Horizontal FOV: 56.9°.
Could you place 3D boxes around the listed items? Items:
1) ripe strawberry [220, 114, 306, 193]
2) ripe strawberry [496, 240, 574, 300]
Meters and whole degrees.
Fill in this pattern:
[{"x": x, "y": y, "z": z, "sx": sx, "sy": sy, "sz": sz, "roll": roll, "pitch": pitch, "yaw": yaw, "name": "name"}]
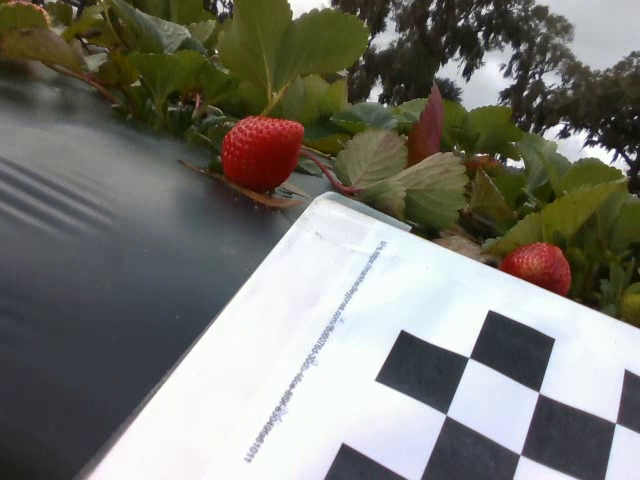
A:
[{"x": -0.028, "y": -0.052, "z": 0.321, "sx": 0.065, "sy": 0.043, "sz": 0.047, "roll": -20, "pitch": 23, "yaw": 51, "name": "ripe strawberry"}, {"x": 0.105, "y": 0.015, "z": 0.279, "sx": 0.040, "sy": 0.037, "sz": 0.042, "roll": 34, "pitch": 3, "yaw": 21, "name": "ripe strawberry"}]
